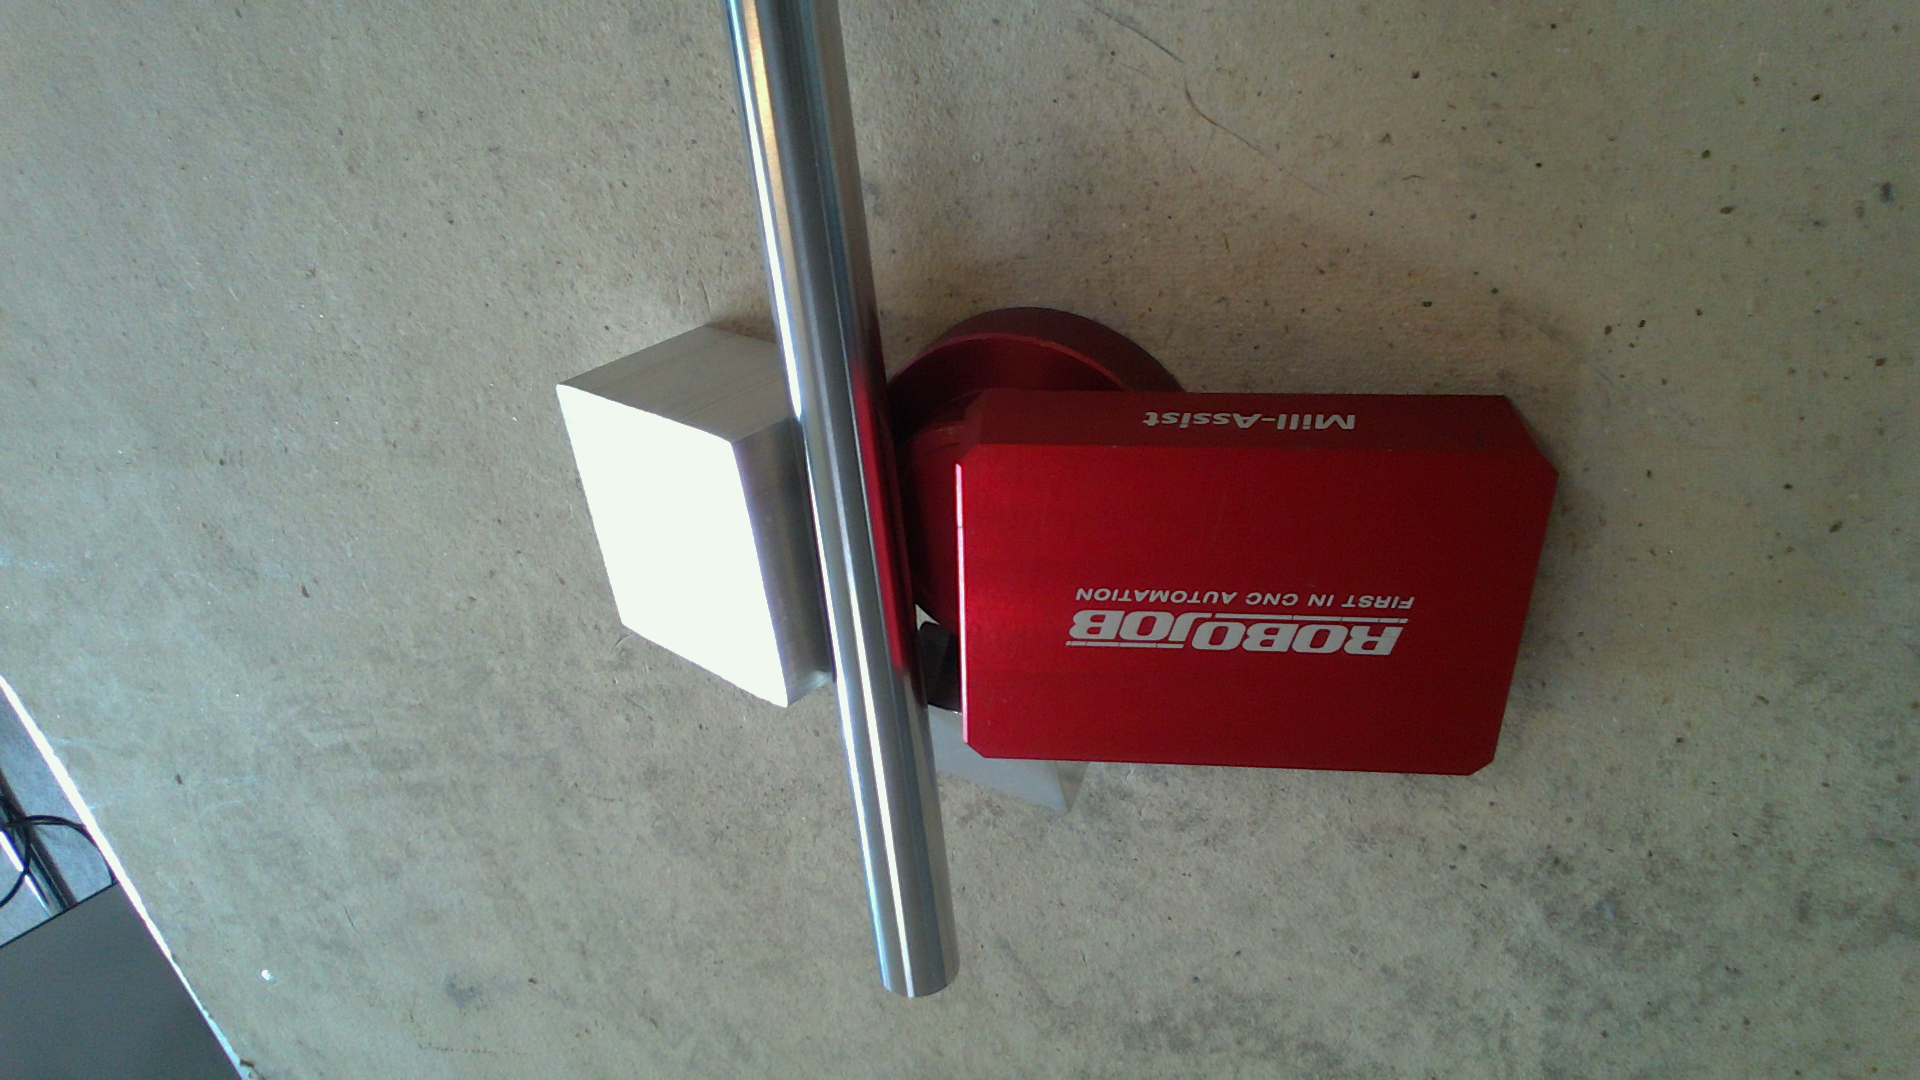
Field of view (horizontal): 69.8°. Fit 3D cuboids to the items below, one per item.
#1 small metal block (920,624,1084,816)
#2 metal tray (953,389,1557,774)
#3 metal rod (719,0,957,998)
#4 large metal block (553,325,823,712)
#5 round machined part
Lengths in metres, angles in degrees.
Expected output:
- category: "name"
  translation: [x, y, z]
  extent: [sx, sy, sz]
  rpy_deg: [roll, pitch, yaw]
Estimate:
- category: "small metal block"
  translation: [0.011, 0.053, 0.408]
  extent: [0.050, 0.025, 0.050]
  rpy_deg: [15, 150, 21]
- category: "metal tray"
  translation: [0.065, 0.011, 0.333]
  extent: [0.130, 0.030, 0.090]
  rpy_deg: [1, 122, 4]
- category: "metal rod"
  translation: [-0.027, -0.003, 0.351]
  extent: [0.025, 0.025, 0.300]
  rpy_deg: [7, 120, 25]
- category: "large metal block"
  translation: [-0.062, -0.009, 0.391]
  extent: [0.080, 0.050, 0.080]
  rpy_deg: [19, 128, 40]
- category: "round machined part"
  translation: [0.017, -0.009, 0.367]
  extent: [0.098, 0.042, 0.098]
  rpy_deg: [13, 124, 21]
